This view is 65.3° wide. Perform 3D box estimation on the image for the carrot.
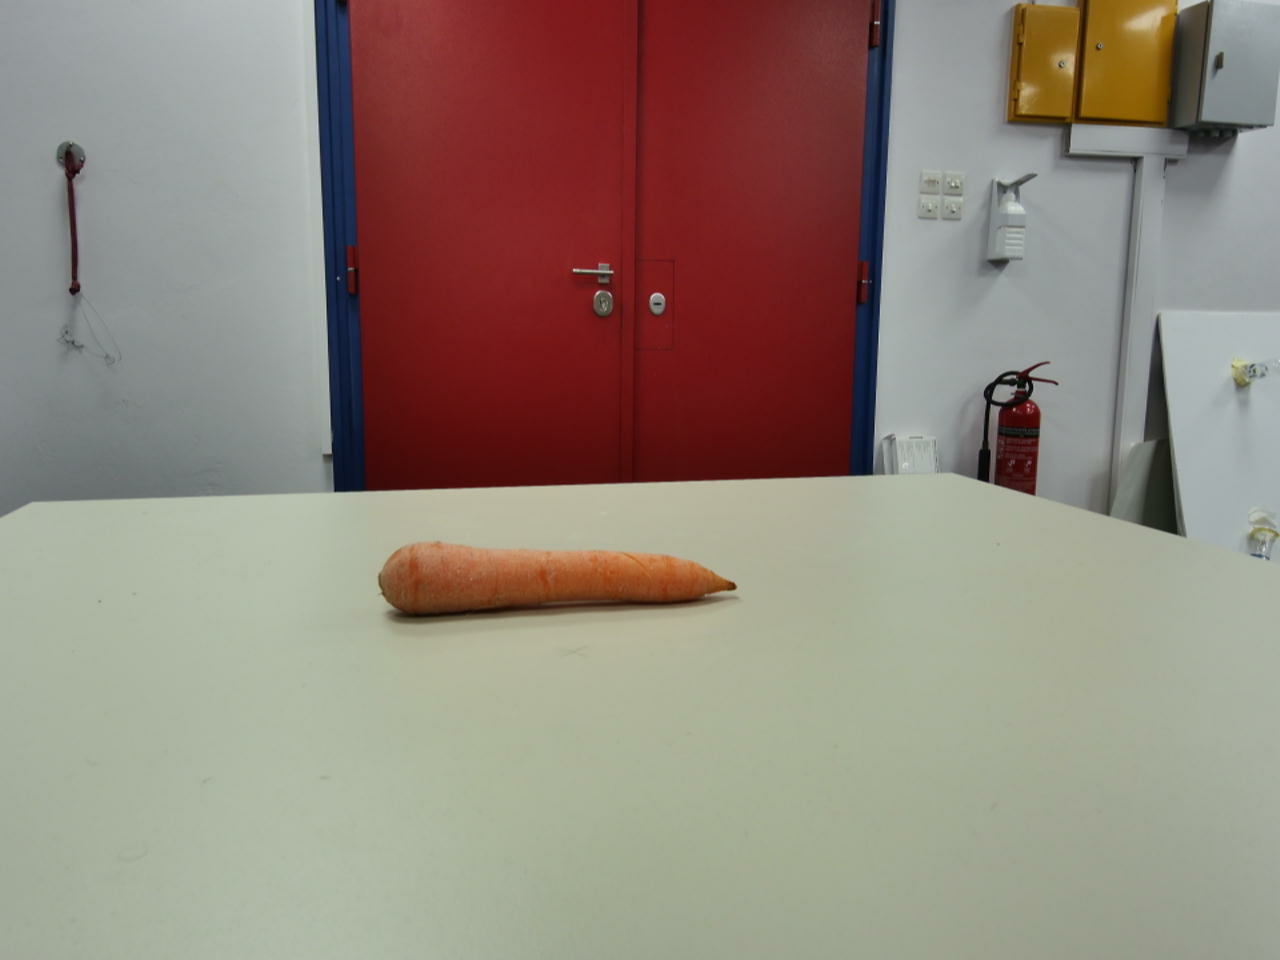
[{"bbox_3d":[-0.041,0.050,0.546,0.196,0.041,0.039,-2,7,-13],"label":"carrot"}]
